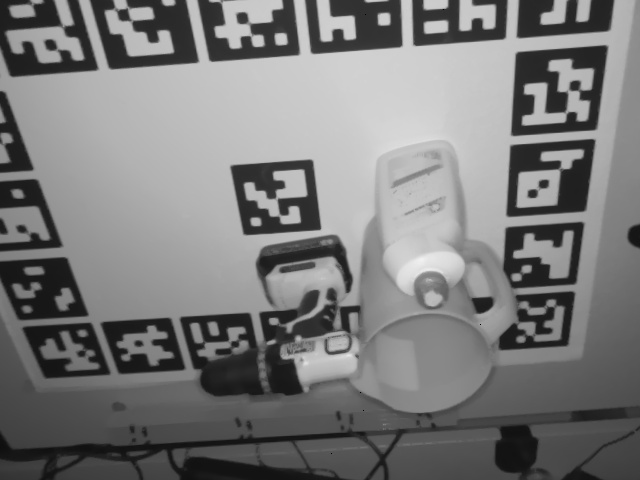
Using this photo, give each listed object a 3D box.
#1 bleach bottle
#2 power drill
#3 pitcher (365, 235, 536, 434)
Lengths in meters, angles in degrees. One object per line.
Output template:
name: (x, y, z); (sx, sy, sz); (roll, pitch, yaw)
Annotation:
bleach bottle: (0.129, 0.000, 0.699); (0.102, 0.252, 0.067); (-12, 119, 7)
power drill: (-0.035, 0.104, 0.791); (0.184, 0.189, 0.057); (-7, 117, 11)
pitcher: (0.130, 0.077, 0.767); (0.187, 0.244, 0.133); (-29, 114, 16)
